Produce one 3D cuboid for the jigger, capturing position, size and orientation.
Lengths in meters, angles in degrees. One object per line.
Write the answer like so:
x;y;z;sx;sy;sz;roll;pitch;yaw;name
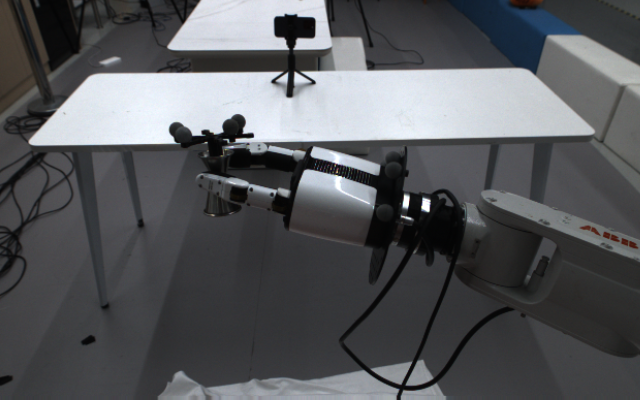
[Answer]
-0.116;-0.020;0.549;0.043;0.071;0.043;-2;19;1;jigger
